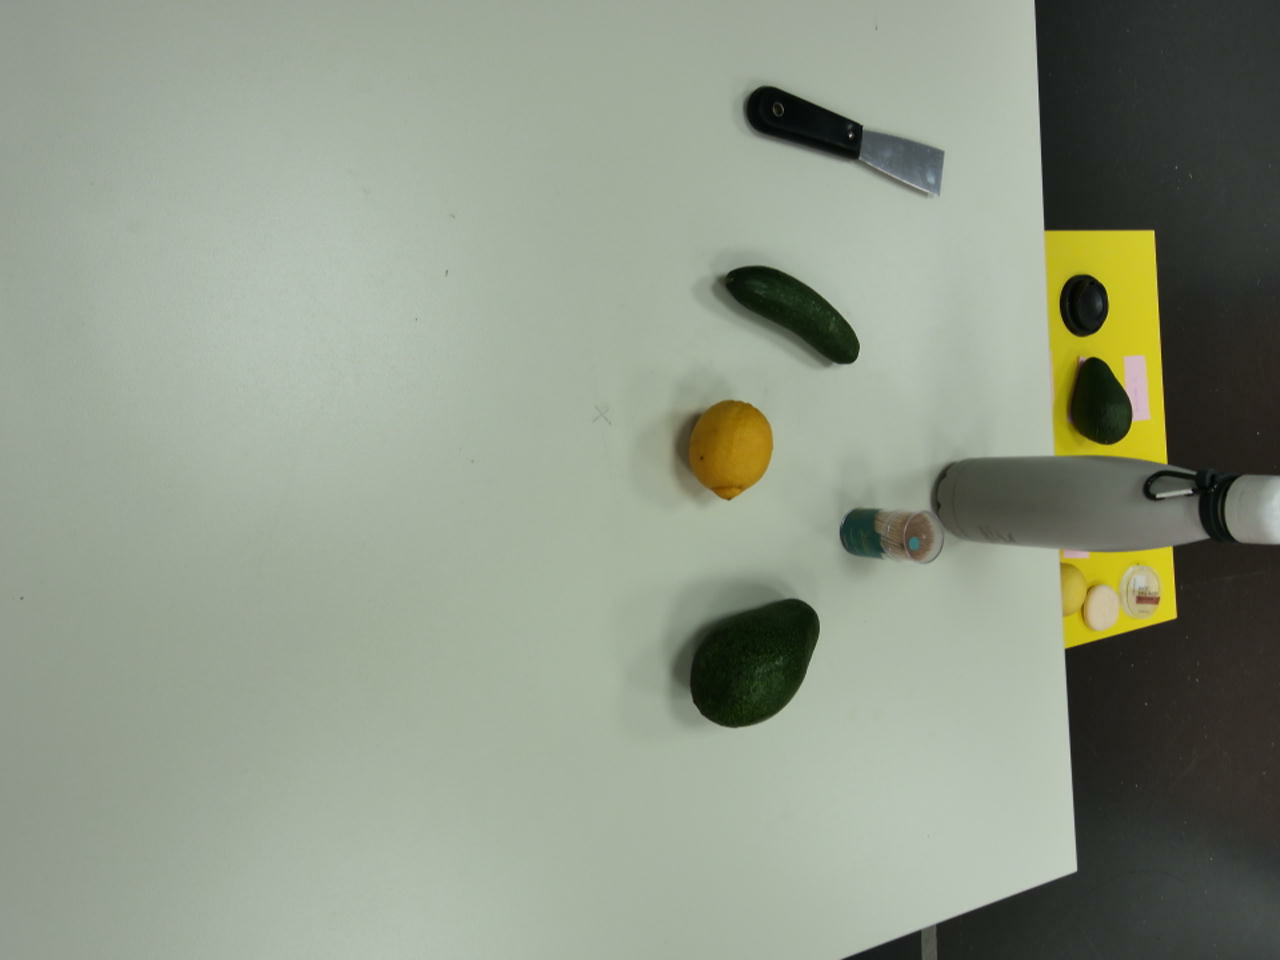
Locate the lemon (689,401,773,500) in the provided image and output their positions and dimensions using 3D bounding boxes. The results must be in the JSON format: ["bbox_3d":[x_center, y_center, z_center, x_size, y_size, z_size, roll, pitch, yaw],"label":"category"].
[{"bbox_3d":[0.065,-0.023,0.722,0.061,0.059,0.066,40,72,-22],"label":"lemon"}]
